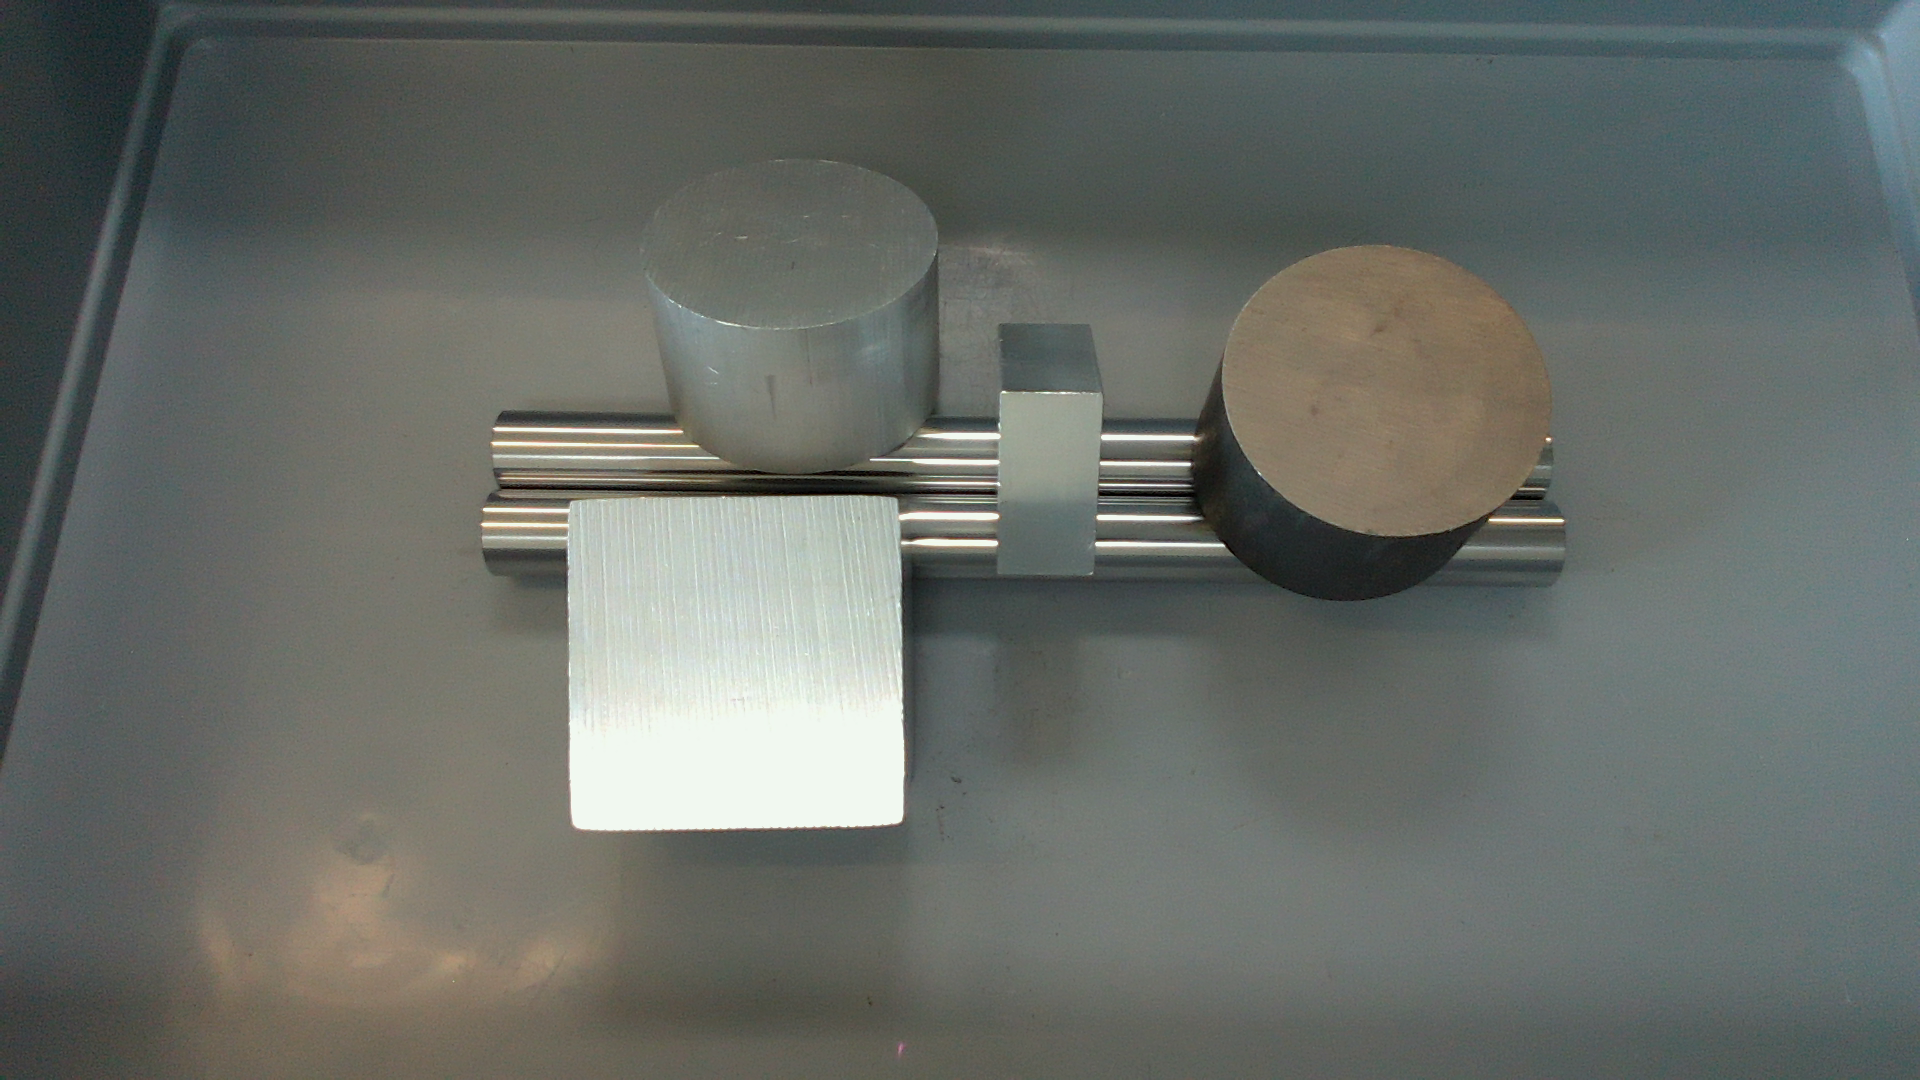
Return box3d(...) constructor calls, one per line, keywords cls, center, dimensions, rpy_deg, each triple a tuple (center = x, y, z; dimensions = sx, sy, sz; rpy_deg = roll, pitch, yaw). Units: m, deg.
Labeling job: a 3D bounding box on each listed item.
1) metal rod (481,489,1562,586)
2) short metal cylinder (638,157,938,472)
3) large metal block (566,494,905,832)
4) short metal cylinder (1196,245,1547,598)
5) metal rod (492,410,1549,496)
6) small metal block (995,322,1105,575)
box3d(cls="metal rod", center=(0.017, -0.001, 0.394), dimensions=(0.300, 0.025, 0.025), rpy_deg=(1, 70, 0))
box3d(cls="short metal cylinder", center=(-0.046, -0.065, 0.389), dimensions=(0.080, 0.050, 0.080), rpy_deg=(0, 46, 0))
box3d(cls="large metal block", center=(-0.054, 0.029, 0.355), dimensions=(0.080, 0.050, 0.080), rpy_deg=(-1, 90, 0))
box3d(cls="short metal cylinder", center=(0.106, -0.030, 0.365), dimensions=(0.080, 0.050, 0.080), rpy_deg=(0, 70, 0))
box3d(cls="metal rod", center=(0.017, -0.024, 0.403), dimensions=(0.300, 0.025, 0.025), rpy_deg=(1, 70, 0))
box3d(cls="small metal block", center=(0.022, -0.025, 0.359), dimensions=(0.025, 0.050, 0.050), rpy_deg=(1, 28, 0))
